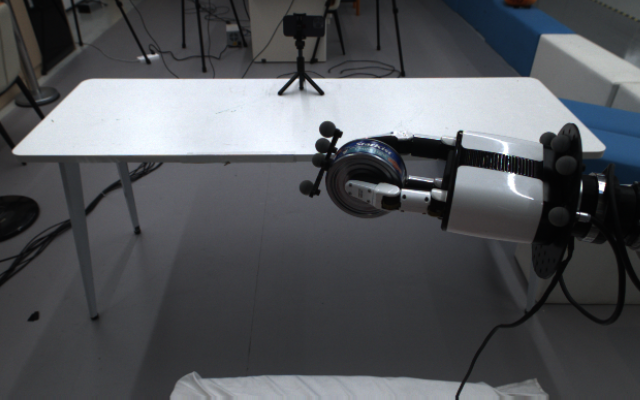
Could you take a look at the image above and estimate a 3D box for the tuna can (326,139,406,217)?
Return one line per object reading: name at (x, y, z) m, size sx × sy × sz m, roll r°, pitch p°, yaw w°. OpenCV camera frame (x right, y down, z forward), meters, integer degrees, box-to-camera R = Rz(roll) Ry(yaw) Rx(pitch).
tuna can at (0.053, -0.024, 0.533) m, size 0.085 × 0.085 × 0.034 m, roll 9°, pitch 35°, yaw 10°
